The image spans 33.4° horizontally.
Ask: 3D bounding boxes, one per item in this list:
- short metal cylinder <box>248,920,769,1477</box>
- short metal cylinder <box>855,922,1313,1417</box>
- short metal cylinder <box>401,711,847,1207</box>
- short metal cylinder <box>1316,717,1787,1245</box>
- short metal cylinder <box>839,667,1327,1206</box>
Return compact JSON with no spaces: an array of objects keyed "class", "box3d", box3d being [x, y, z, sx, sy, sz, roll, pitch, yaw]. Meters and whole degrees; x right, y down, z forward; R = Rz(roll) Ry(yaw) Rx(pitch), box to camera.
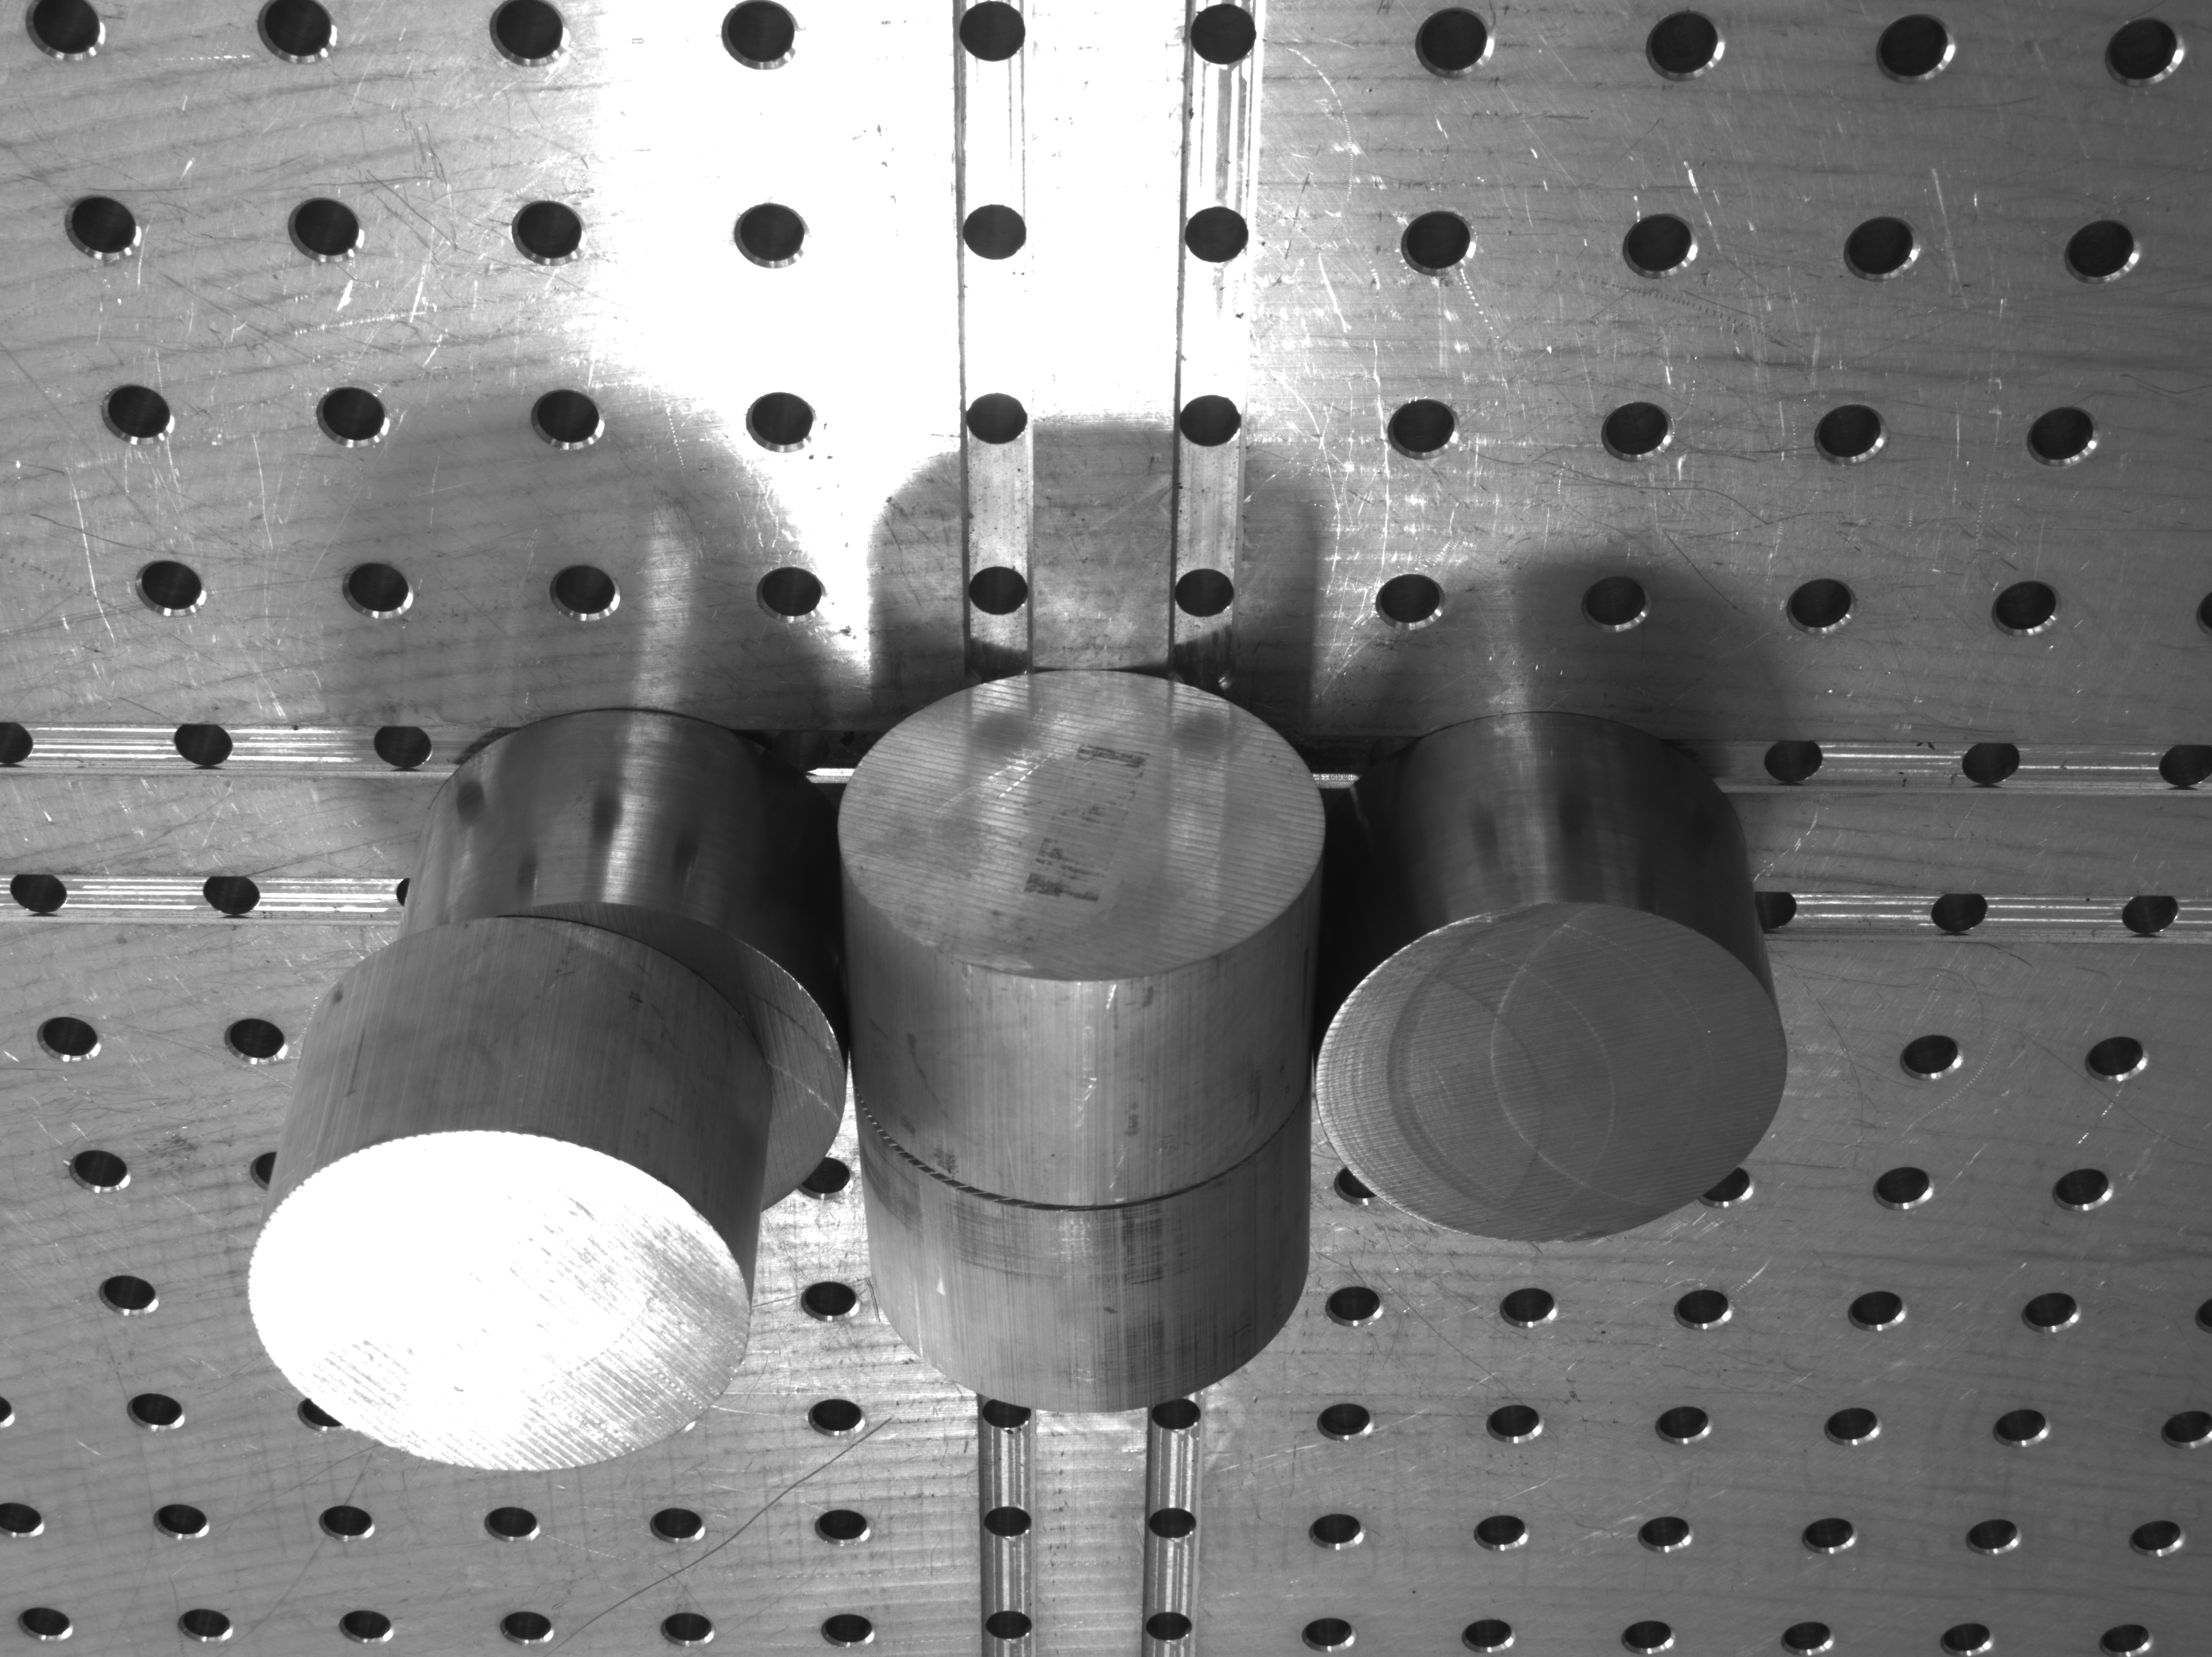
[{"class":"short metal cylinder","box3d":[-0.097,0.062,0.610,0.080,0.050,0.080,0,130,0]},{"class":"short metal cylinder","box3d":[-0.003,0.057,0.654,0.080,0.080,0.050,-1,130,1]},{"class":"short metal cylinder","box3d":[-0.084,0.026,0.648,0.080,0.050,0.080,0,130,0]},{"class":"short metal cylinder","box3d":[0.076,0.027,0.648,0.080,0.050,0.080,0,130,0]},{"class":"short metal cylinder","box3d":[-0.004,0.017,0.621,0.080,0.080,0.050,1,131,0]}]
